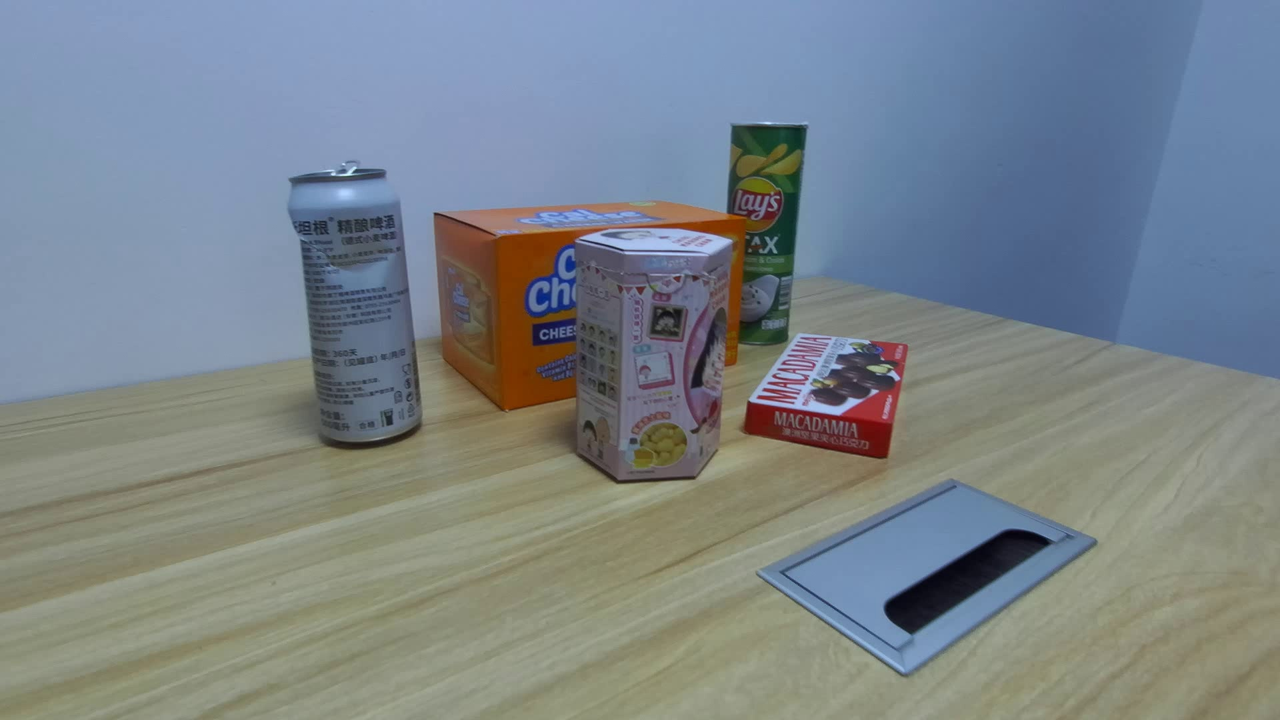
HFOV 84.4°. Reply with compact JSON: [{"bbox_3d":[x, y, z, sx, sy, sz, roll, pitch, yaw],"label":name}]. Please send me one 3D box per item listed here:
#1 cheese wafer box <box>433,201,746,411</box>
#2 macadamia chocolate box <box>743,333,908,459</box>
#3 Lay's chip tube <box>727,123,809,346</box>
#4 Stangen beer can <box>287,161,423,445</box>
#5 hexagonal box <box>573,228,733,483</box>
[{"bbox_3d":[-0.043,-0.059,0.602,0.223,0.129,0.147,-10,22,-32],"label":"cheese wafer box"},{"bbox_3d":[0.147,0.019,0.535,0.095,0.027,0.178,9,20,22],"label":"macadamia chocolate box"},{"bbox_3d":[0.115,-0.118,0.667,0.071,0.202,0.071,1,17,0],"label":"Lay's chip tube"},{"bbox_3d":[-0.181,-0.034,0.447,0.069,0.173,0.070,15,22,39],"label":"Stangen beer can"},{"bbox_3d":[0.009,-0.005,0.423,0.083,0.136,0.091,8,20,21],"label":"hexagonal box"}]
